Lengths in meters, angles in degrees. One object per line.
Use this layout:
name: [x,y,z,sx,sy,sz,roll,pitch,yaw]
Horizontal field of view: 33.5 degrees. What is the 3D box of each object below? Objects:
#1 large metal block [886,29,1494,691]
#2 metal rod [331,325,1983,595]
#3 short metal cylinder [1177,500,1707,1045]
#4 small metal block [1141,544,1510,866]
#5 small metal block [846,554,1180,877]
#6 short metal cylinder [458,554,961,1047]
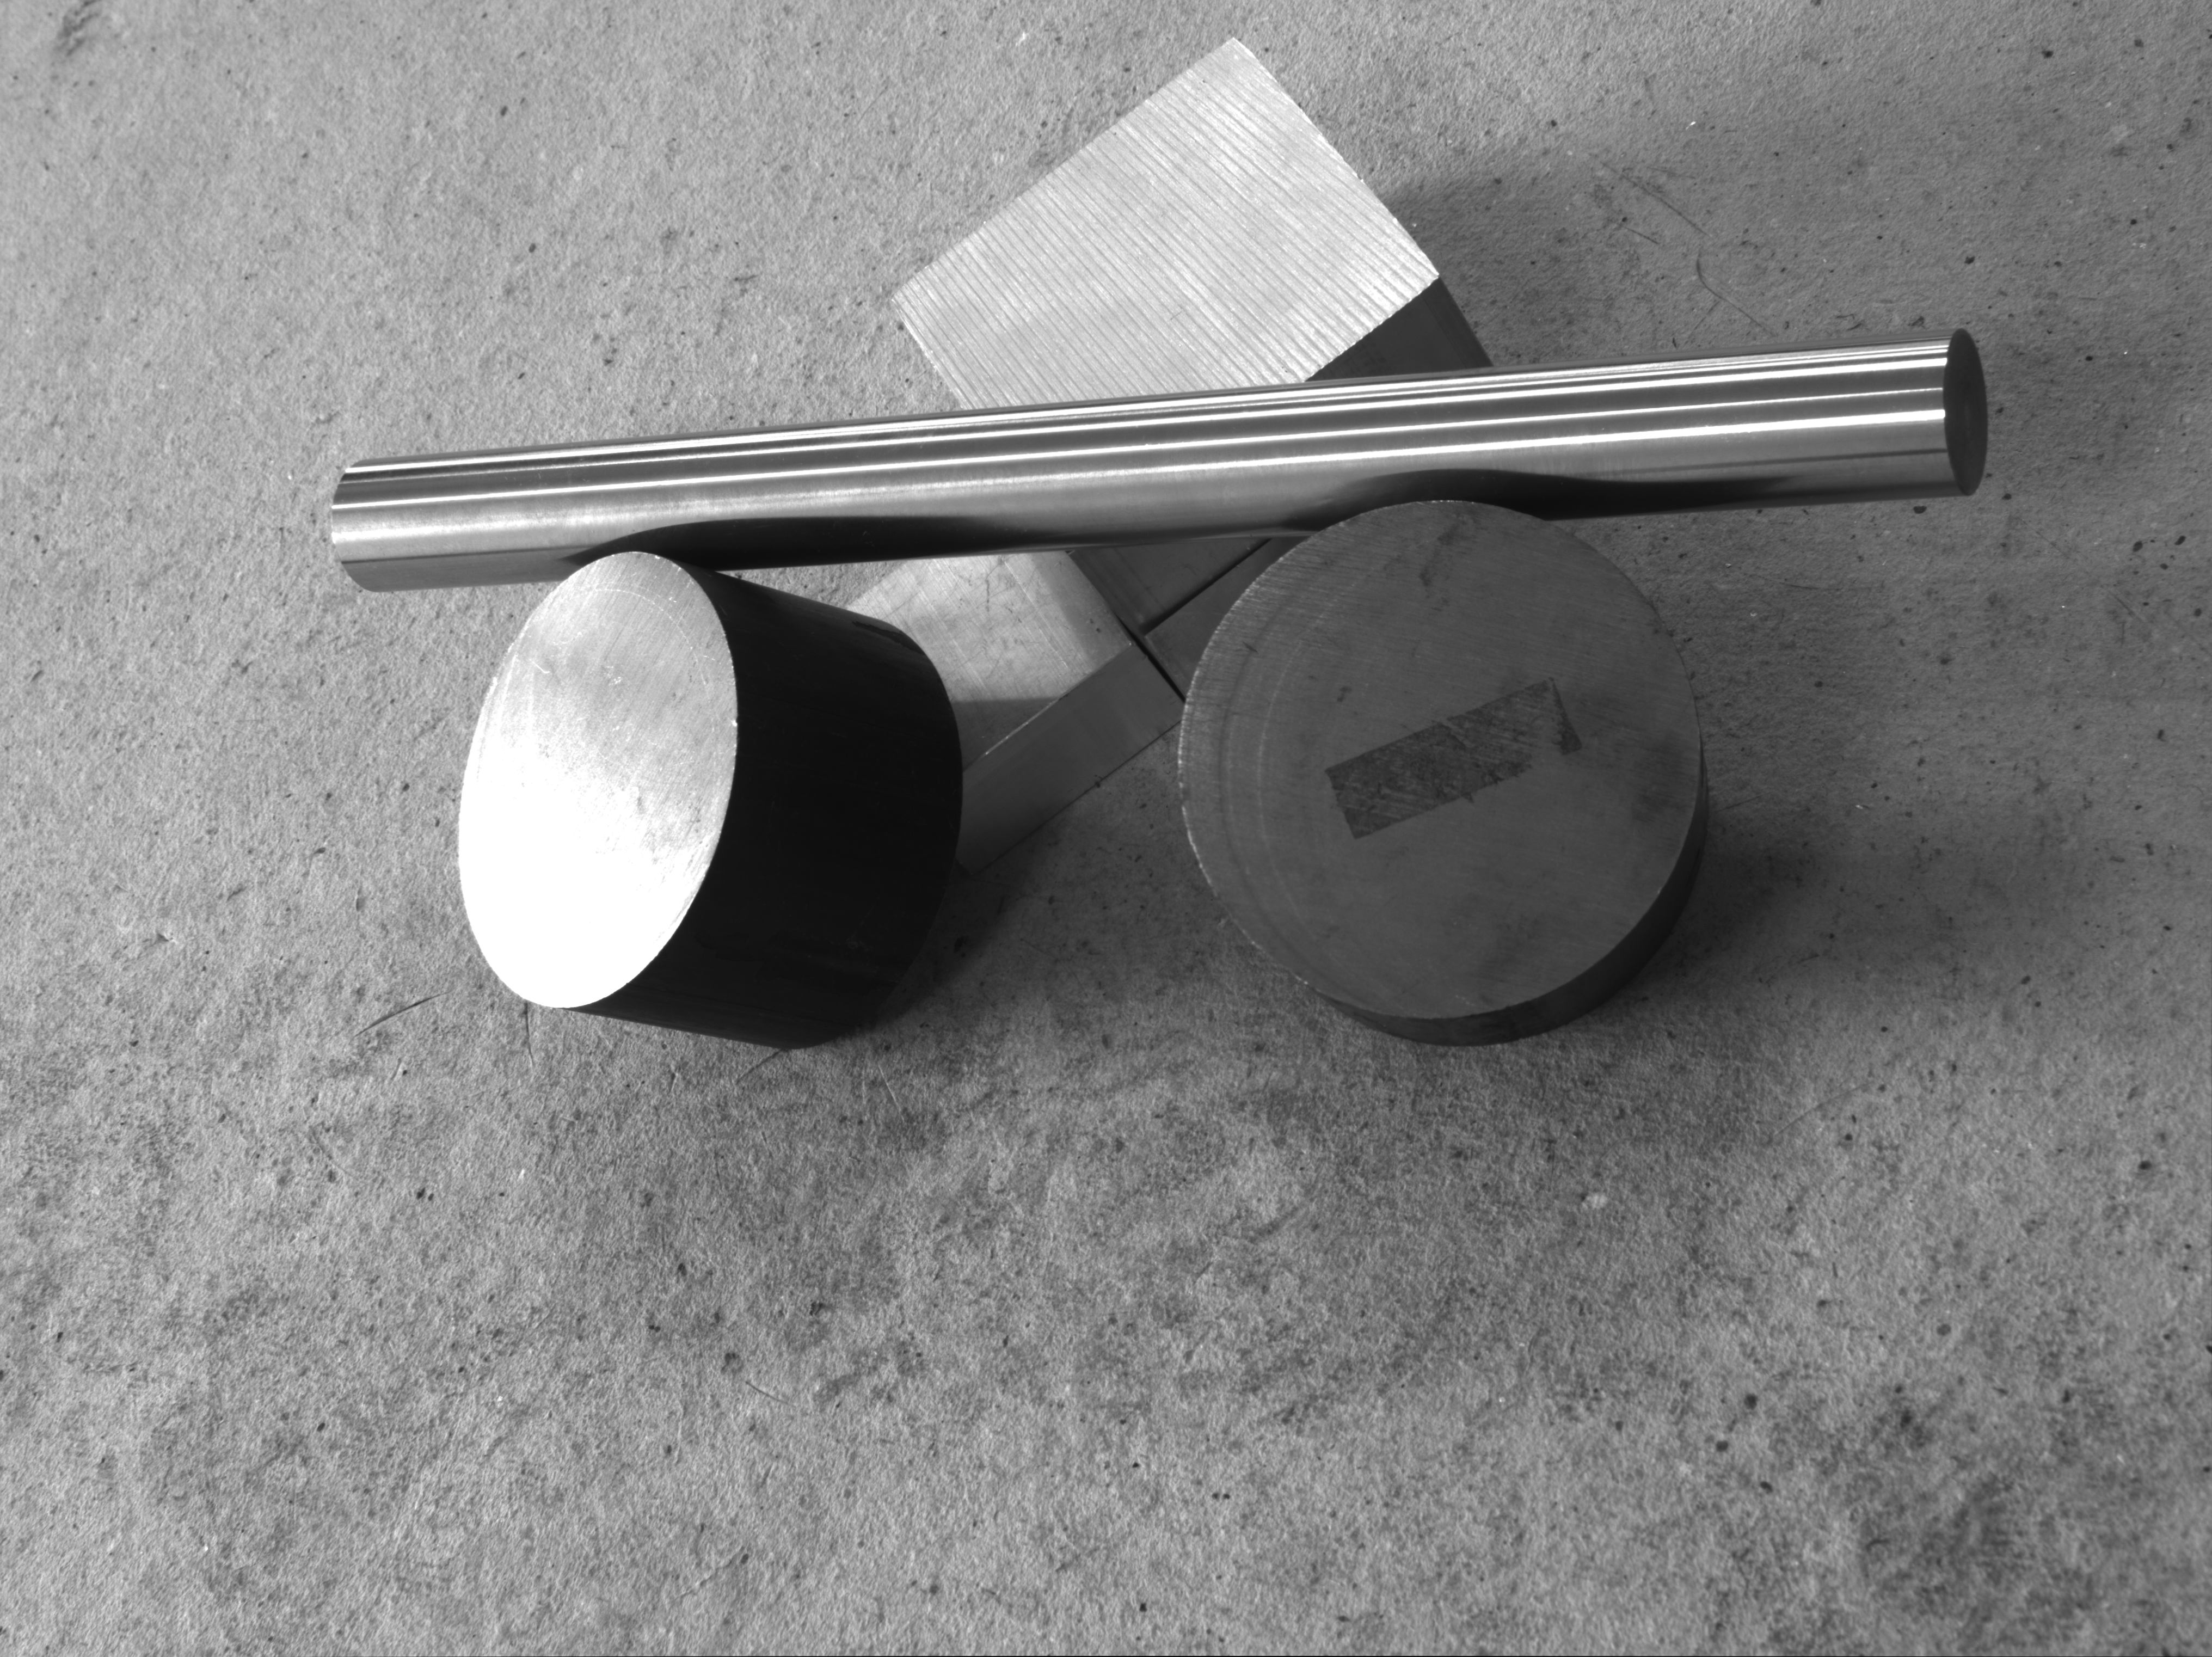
large metal block: [0.019,-0.085,0.669,0.080,0.050,0.080,-36,51,4]
metal rod: [-0.005,-0.059,0.618,0.299,0.025,0.025,-1,61,28]
short metal cylinder: [0.055,-0.007,0.586,0.080,0.050,0.080,-2,80,10]
small metal block: [0.042,-0.027,0.639,0.050,0.025,0.050,-37,51,3]
small metal block: [-0.020,-0.028,0.674,0.050,0.025,0.050,-37,51,3]
short metal cylinder: [-0.071,-0.004,0.652,0.080,0.050,0.080,-15,69,44]
